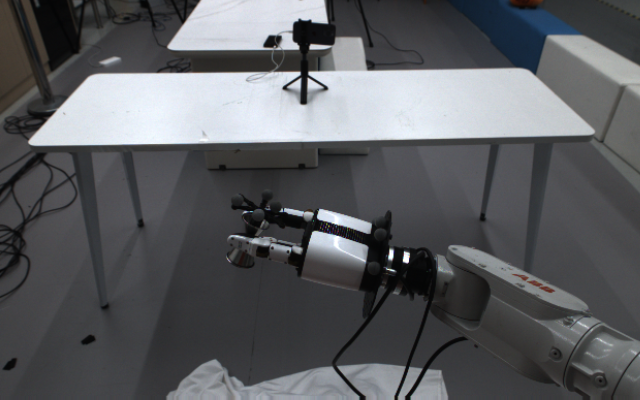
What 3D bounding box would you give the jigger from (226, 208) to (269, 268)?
[{"bbox_3d":[-0.104,0.058,0.696,0.043,0.071,0.043,23,19,-8],"label":"jigger"}]
